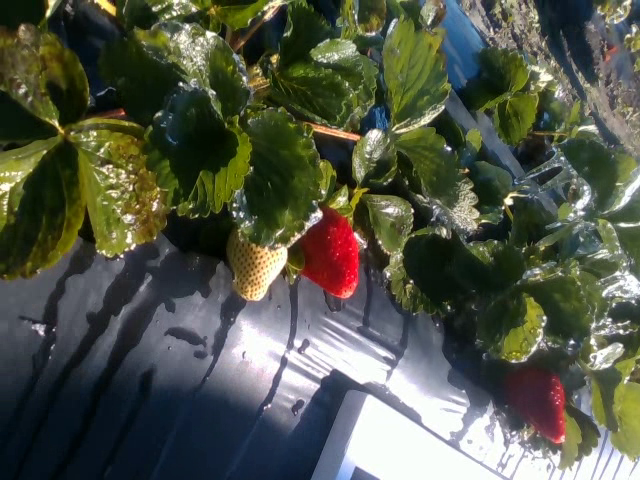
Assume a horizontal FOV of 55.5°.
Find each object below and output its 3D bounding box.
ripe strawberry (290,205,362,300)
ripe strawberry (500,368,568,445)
[{"bbox_3d":[0.005,0.014,0.339,0.042,0.061,0.046,22,-55,-34],"label":"ripe strawberry"},{"bbox_3d":[0.169,0.126,0.452,0.048,0.061,0.044,31,-51,-32],"label":"ripe strawberry"}]
